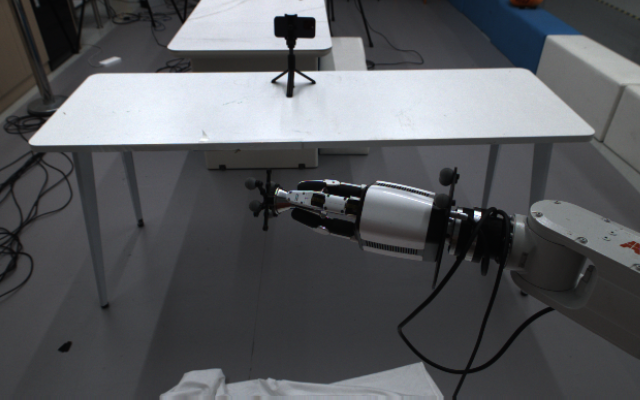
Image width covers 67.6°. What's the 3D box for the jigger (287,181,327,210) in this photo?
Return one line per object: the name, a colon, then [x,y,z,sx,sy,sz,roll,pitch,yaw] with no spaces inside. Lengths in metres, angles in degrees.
jigger: [-0.018,-0.003,0.672,0.071,0.043,0.043,2,34,16]
